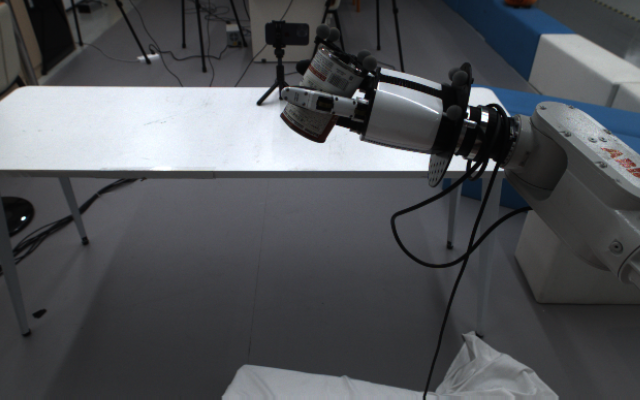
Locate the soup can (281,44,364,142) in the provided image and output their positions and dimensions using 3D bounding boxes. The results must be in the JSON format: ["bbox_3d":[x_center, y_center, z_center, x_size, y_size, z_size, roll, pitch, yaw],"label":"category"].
[{"bbox_3d":[0.004,-0.133,0.614,0.067,0.101,0.067,28,22,-12],"label":"soup can"}]
